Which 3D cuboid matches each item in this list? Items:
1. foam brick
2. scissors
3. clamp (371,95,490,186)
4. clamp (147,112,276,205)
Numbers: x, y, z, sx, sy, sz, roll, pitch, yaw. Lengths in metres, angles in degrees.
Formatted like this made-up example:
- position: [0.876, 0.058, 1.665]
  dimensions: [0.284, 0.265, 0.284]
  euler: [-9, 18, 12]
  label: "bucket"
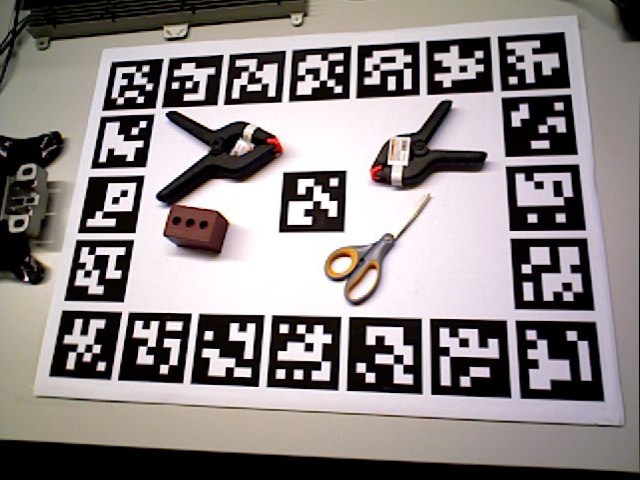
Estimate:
- position: [-0.196, -0.011, 0.823]
  dimensions: [0.078, 0.051, 0.052]
  euler: [7, 75, 17]
  label: "foam brick"
- position: [0.081, 0.010, 0.778]
  dimensions: [0.087, 0.016, 0.201]
  euler: [41, 83, 11]
  label: "scissors"
- position: [0.150, -0.130, 0.803]
  dimensions: [0.165, 0.037, 0.121]
  euler: [-27, 78, 3]
  label: "clamp"
- position: [-0.171, -0.139, 0.862]
  dimensions: [0.203, 0.037, 0.164]
  euler: [-4, 70, 9]
  label: "clamp"
